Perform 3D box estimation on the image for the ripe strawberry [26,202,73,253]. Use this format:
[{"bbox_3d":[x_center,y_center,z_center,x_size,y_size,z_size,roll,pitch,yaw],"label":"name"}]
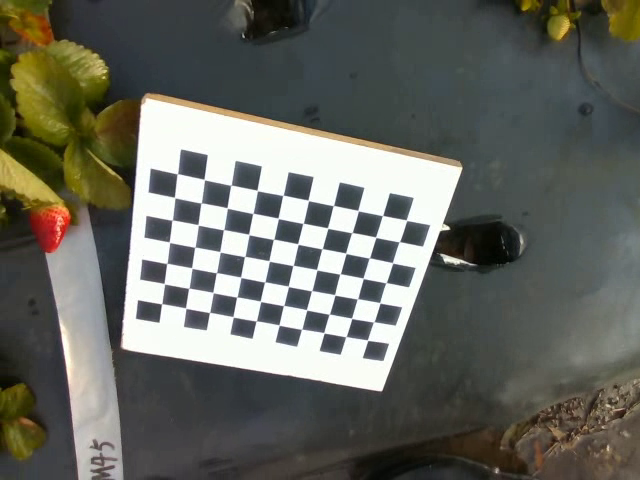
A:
[{"bbox_3d":[-0.235,-0.009,0.532,0.050,0.055,0.035,3,10,-11],"label":"ripe strawberry"}]
